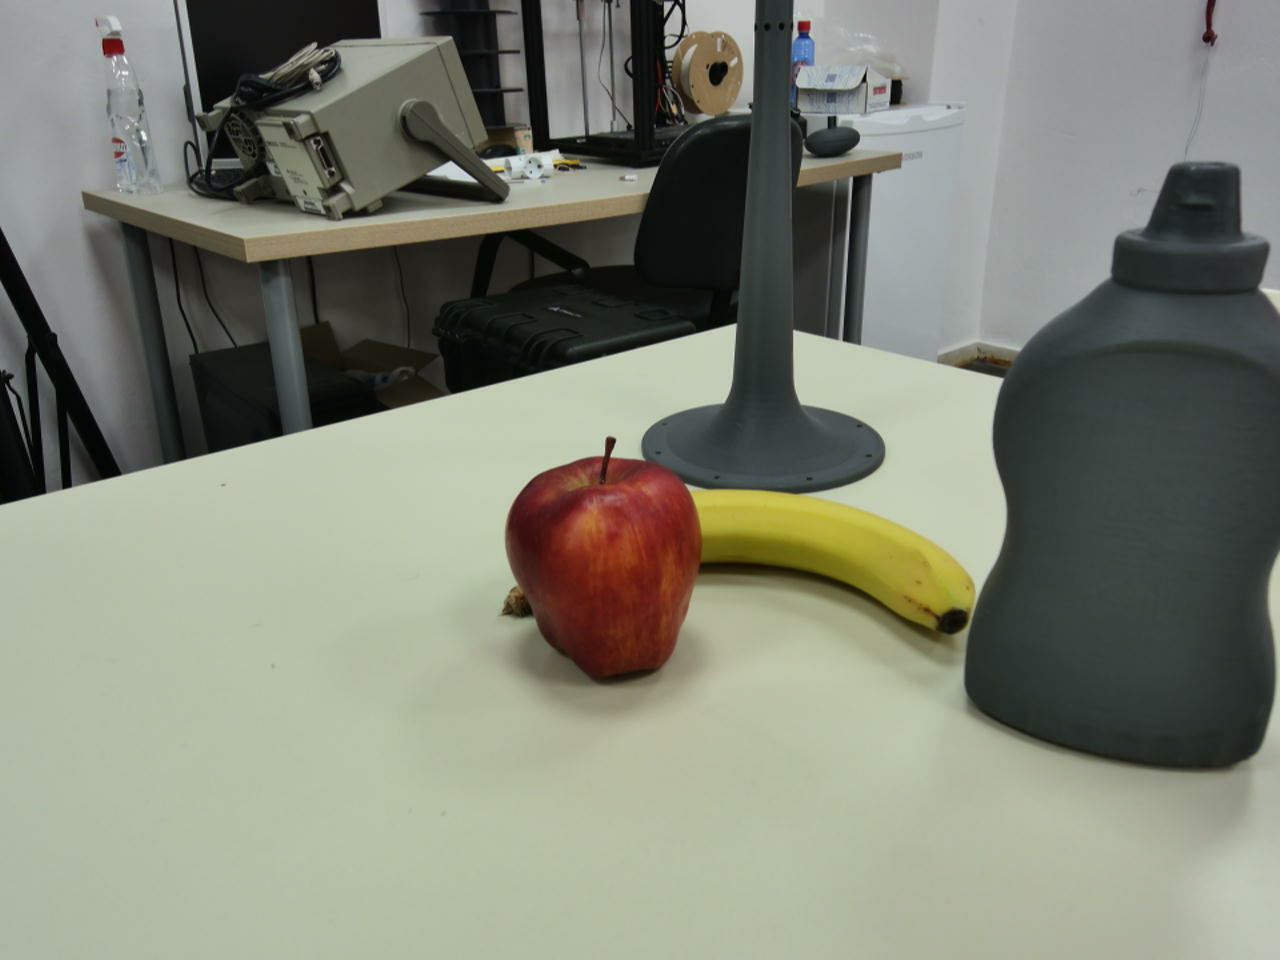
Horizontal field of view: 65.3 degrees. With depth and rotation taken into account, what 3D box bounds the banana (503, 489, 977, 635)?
[{"bbox_3d":[0.044,0.034,0.454,0.196,0.041,0.094,5,22,14],"label":"banana"}]
